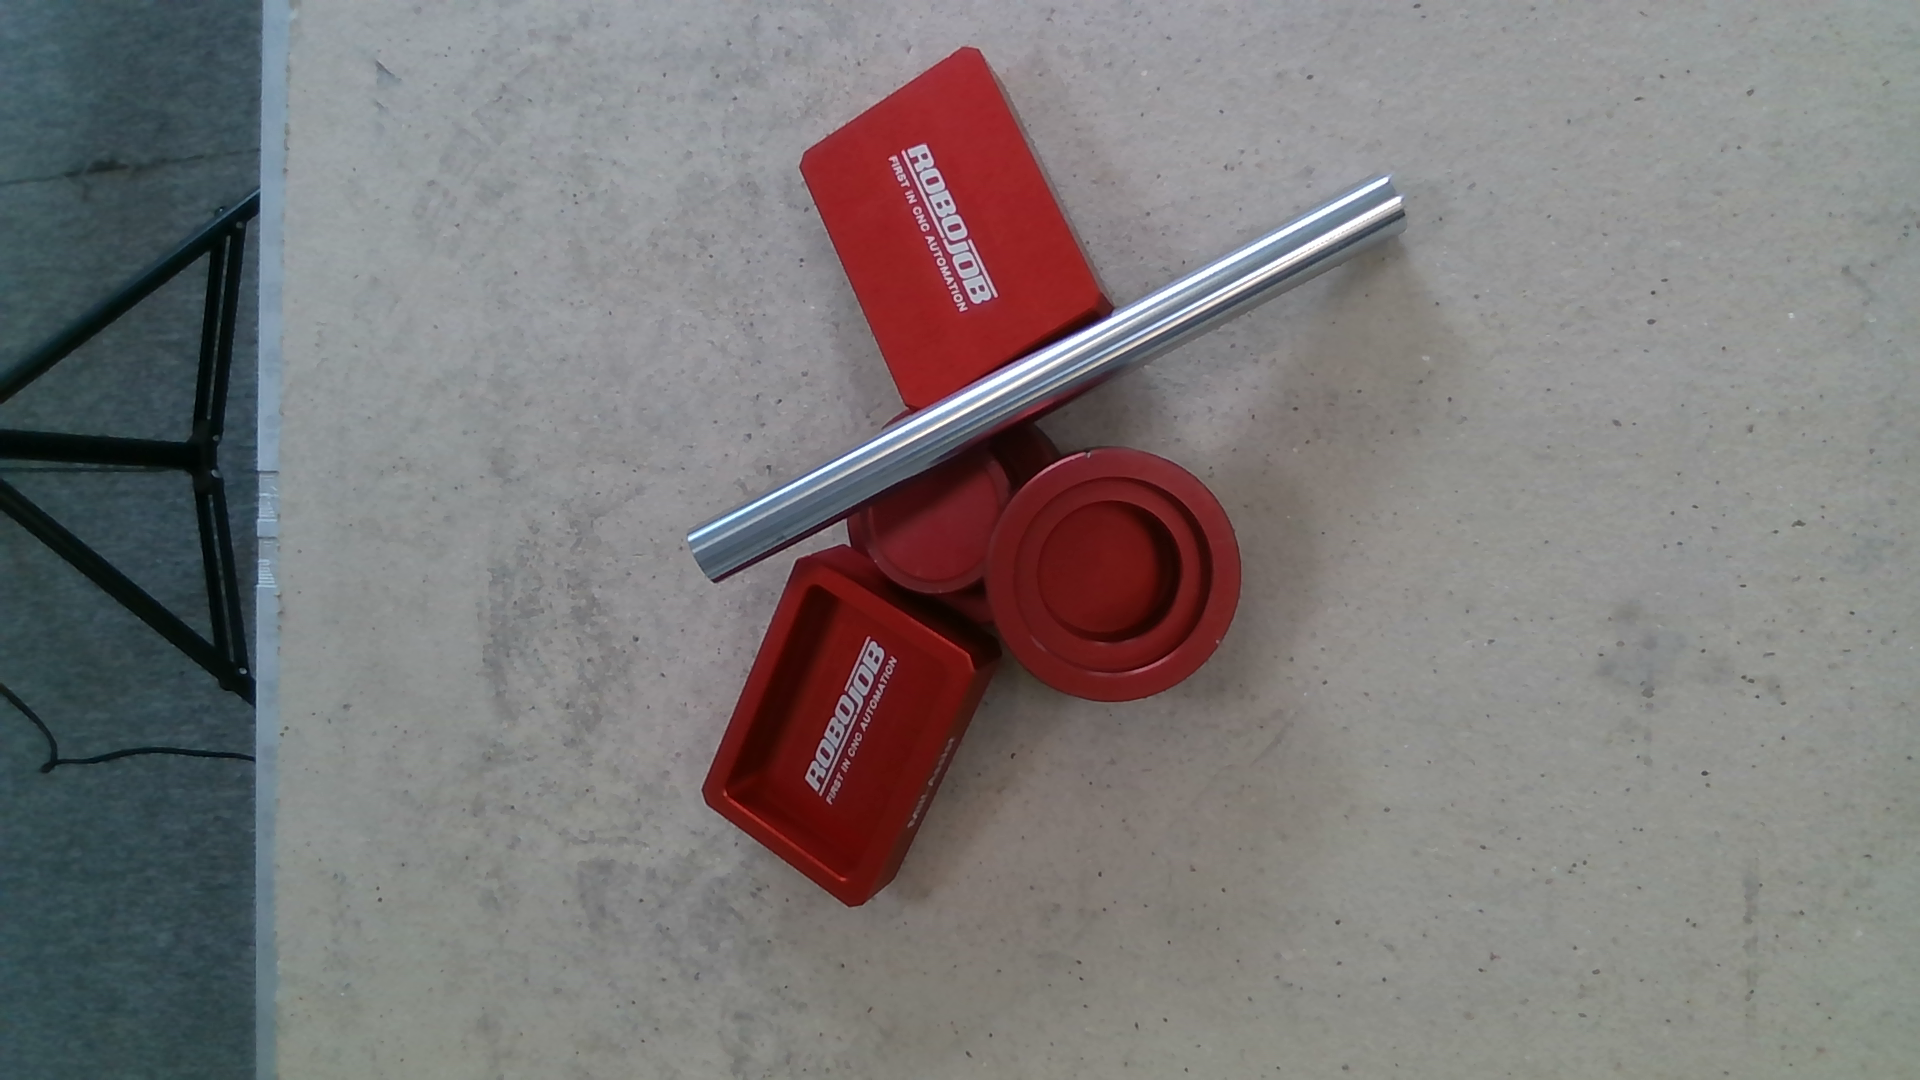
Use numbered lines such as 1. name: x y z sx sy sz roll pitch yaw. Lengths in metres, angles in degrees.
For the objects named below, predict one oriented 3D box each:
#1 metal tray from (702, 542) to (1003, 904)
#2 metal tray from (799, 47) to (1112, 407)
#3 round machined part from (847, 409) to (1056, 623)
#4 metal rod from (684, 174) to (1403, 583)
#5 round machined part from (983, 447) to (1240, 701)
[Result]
1. metal tray: -0.049 0.078 0.591 0.090 0.030 0.130 31 111 17
2. metal tray: -0.002 -0.126 0.572 0.090 0.030 0.130 -28 72 15
3. round machined part: -0.004 -0.012 0.579 0.098 0.042 0.098 0 91 20
4. metal rod: 0.029 -0.061 0.539 0.300 0.025 0.025 -27 81 5
5. round machined part: 0.058 0.011 0.544 0.098 0.042 0.098 0 97 -1
